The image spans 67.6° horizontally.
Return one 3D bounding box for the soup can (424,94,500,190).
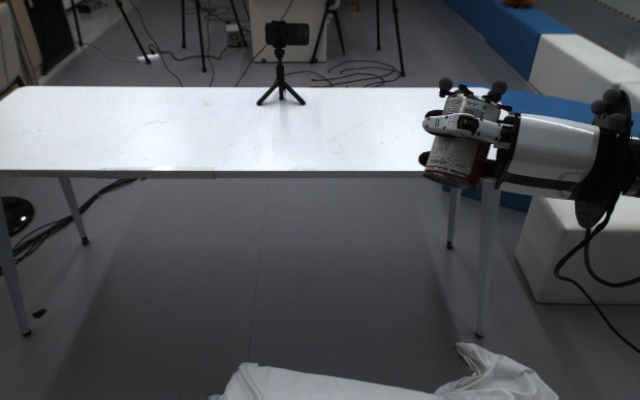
[{"bbox_3d":[0.172,-0.071,0.593,0.067,0.101,0.067,18,-1,0],"label":"soup can"}]
